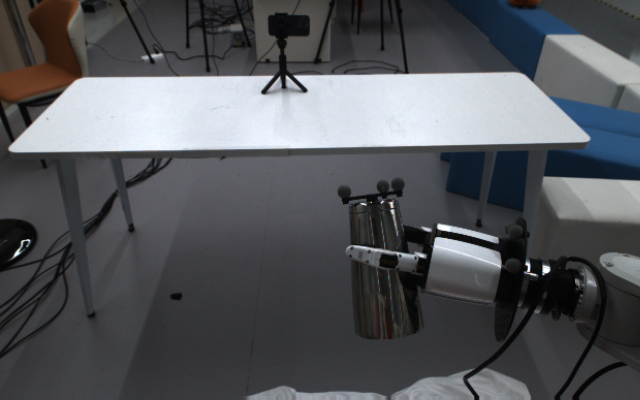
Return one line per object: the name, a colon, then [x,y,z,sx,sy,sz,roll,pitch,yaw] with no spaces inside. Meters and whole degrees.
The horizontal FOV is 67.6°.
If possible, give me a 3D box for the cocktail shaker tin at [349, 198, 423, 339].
cocktail shaker tin: [0.082,0.087,0.642,0.093,0.170,0.093,-8,1,0]
